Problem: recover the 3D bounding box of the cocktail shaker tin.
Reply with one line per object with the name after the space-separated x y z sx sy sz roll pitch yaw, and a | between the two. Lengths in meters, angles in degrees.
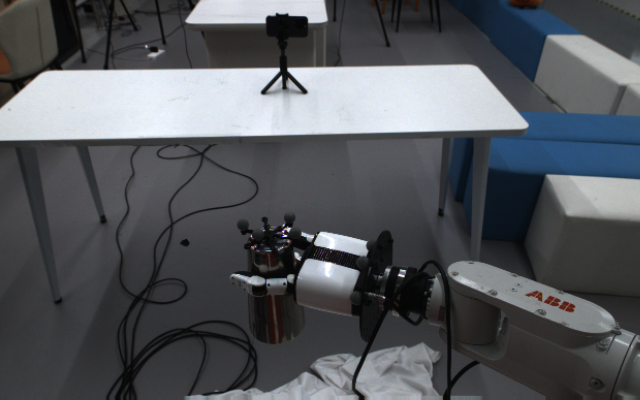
-0.069 0.126 0.751 0.093 0.170 0.093 -1 32 1 | cocktail shaker tin
